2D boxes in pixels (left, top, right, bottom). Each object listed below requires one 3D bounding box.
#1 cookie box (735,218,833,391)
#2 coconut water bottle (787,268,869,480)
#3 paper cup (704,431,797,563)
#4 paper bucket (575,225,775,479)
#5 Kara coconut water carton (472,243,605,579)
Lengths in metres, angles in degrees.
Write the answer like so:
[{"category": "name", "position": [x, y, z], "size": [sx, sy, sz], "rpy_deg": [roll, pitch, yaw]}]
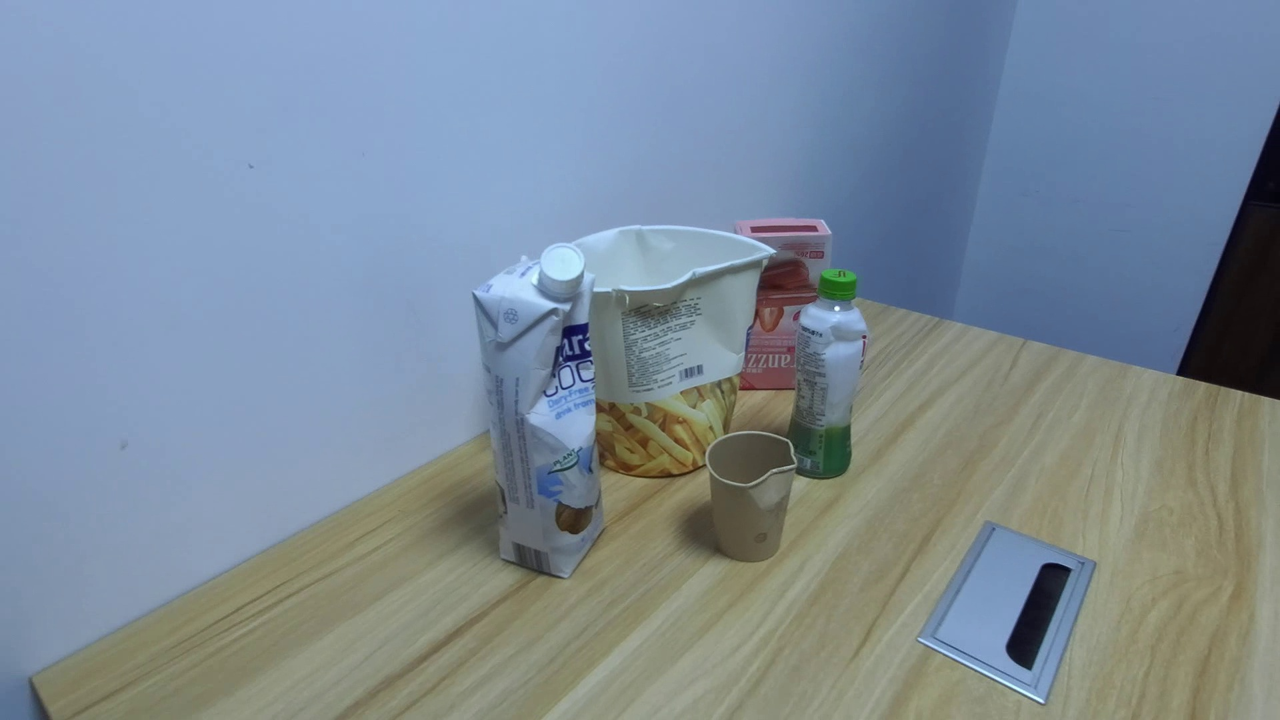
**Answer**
[{"category": "cookie box", "position": [0.146, -0.058, 0.772], "size": [0.105, 0.188, 0.049], "rpy_deg": [0, 27, 2]}, {"category": "coconut water bottle", "position": [0.168, 0.013, 0.629], "size": [0.069, 0.186, 0.069], "rpy_deg": [1, 26, 0]}, {"category": "paper cup", "position": [0.086, 0.110, 0.558], "size": [0.069, 0.081, 0.073], "rpy_deg": [-1, 26, 3]}, {"category": "paper bucket", "position": [0.010, -0.011, 0.670], "size": [0.203, 0.197, 0.145], "rpy_deg": [-21, 33, -35]}, {"category": "Kara coconut water carton", "position": [-0.071, 0.038, 0.522], "size": [0.078, 0.256, 0.083], "rpy_deg": [19, 33, 32]}]
